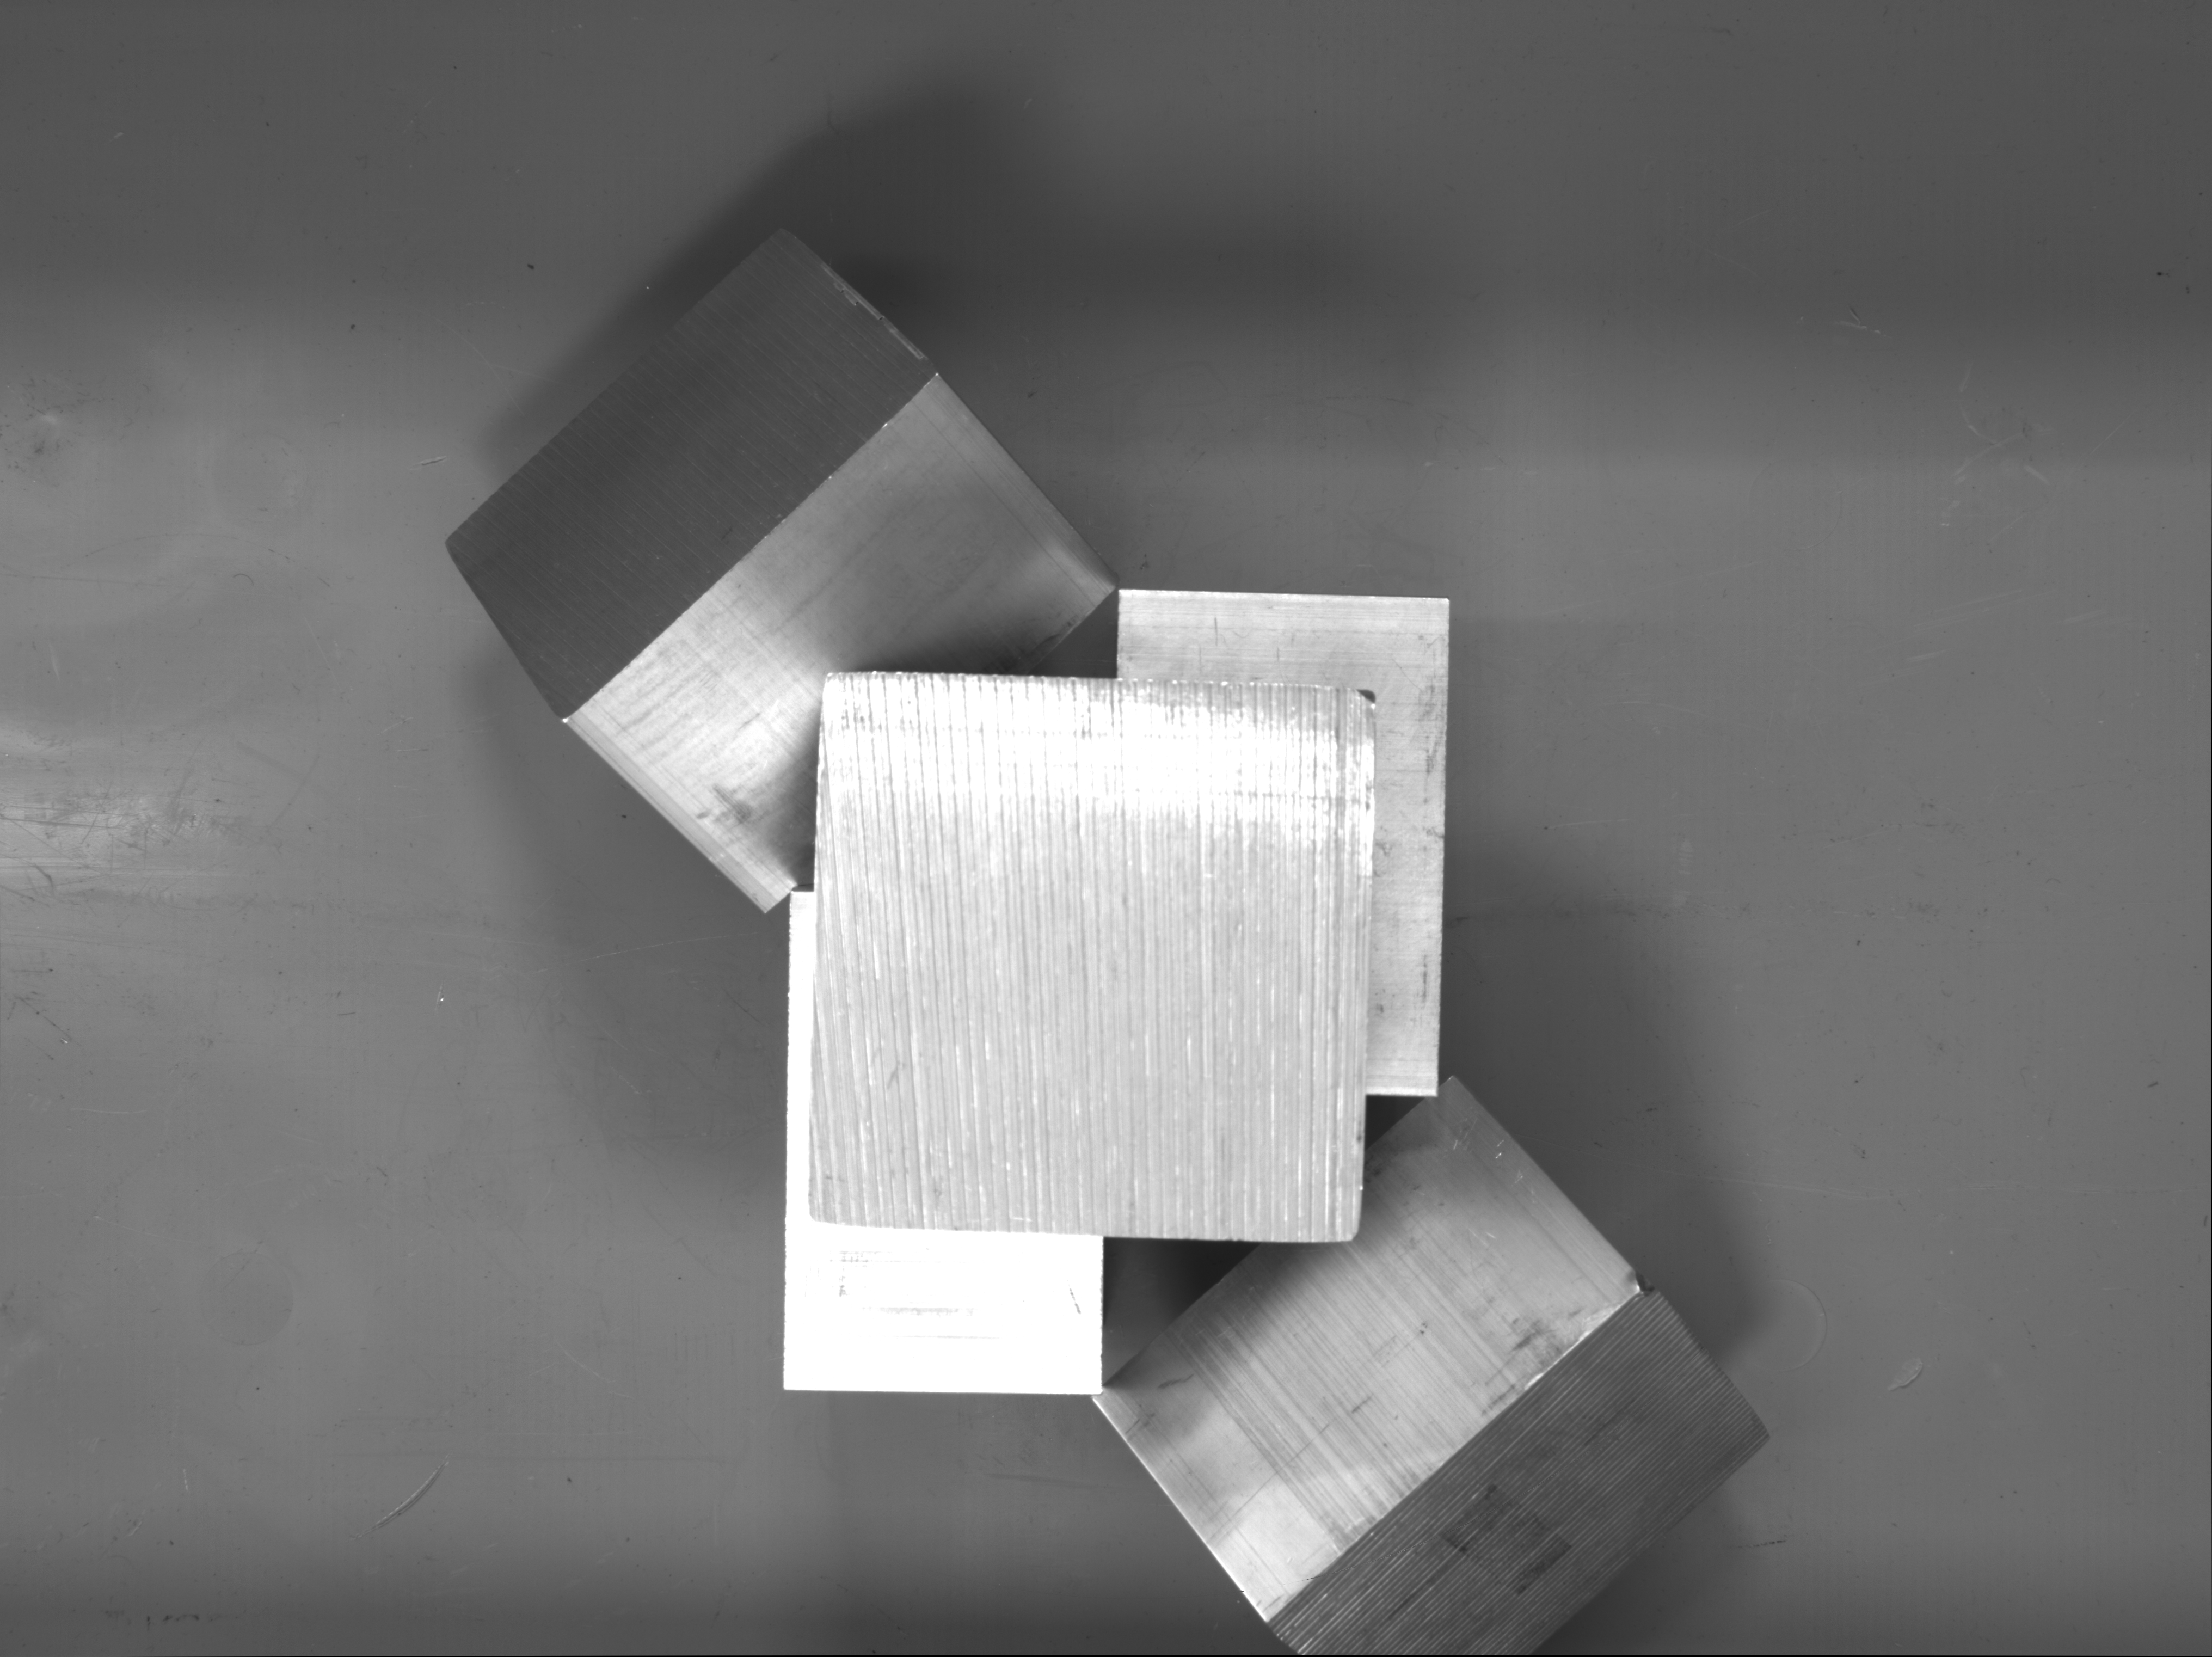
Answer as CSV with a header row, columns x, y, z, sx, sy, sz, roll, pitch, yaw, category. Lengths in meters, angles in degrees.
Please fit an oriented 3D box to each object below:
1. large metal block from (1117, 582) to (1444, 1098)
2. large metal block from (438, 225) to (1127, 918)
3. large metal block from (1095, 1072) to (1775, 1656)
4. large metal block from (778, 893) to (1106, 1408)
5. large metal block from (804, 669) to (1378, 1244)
x,y,z,sx,sy,sz,roll,pitch,yaw,category
0.027,0.002,0.615,0.050,0.080,0.080,1,90,0,large metal block
-0.055,-0.044,0.609,0.080,0.080,0.050,-43,125,0,large metal block
0.056,0.098,0.609,0.080,0.080,0.050,-41,55,0,large metal block
-0.026,0.051,0.617,0.050,0.080,0.080,1,90,0,large metal block
-0.002,0.018,0.551,0.080,0.050,0.080,2,90,0,large metal block
